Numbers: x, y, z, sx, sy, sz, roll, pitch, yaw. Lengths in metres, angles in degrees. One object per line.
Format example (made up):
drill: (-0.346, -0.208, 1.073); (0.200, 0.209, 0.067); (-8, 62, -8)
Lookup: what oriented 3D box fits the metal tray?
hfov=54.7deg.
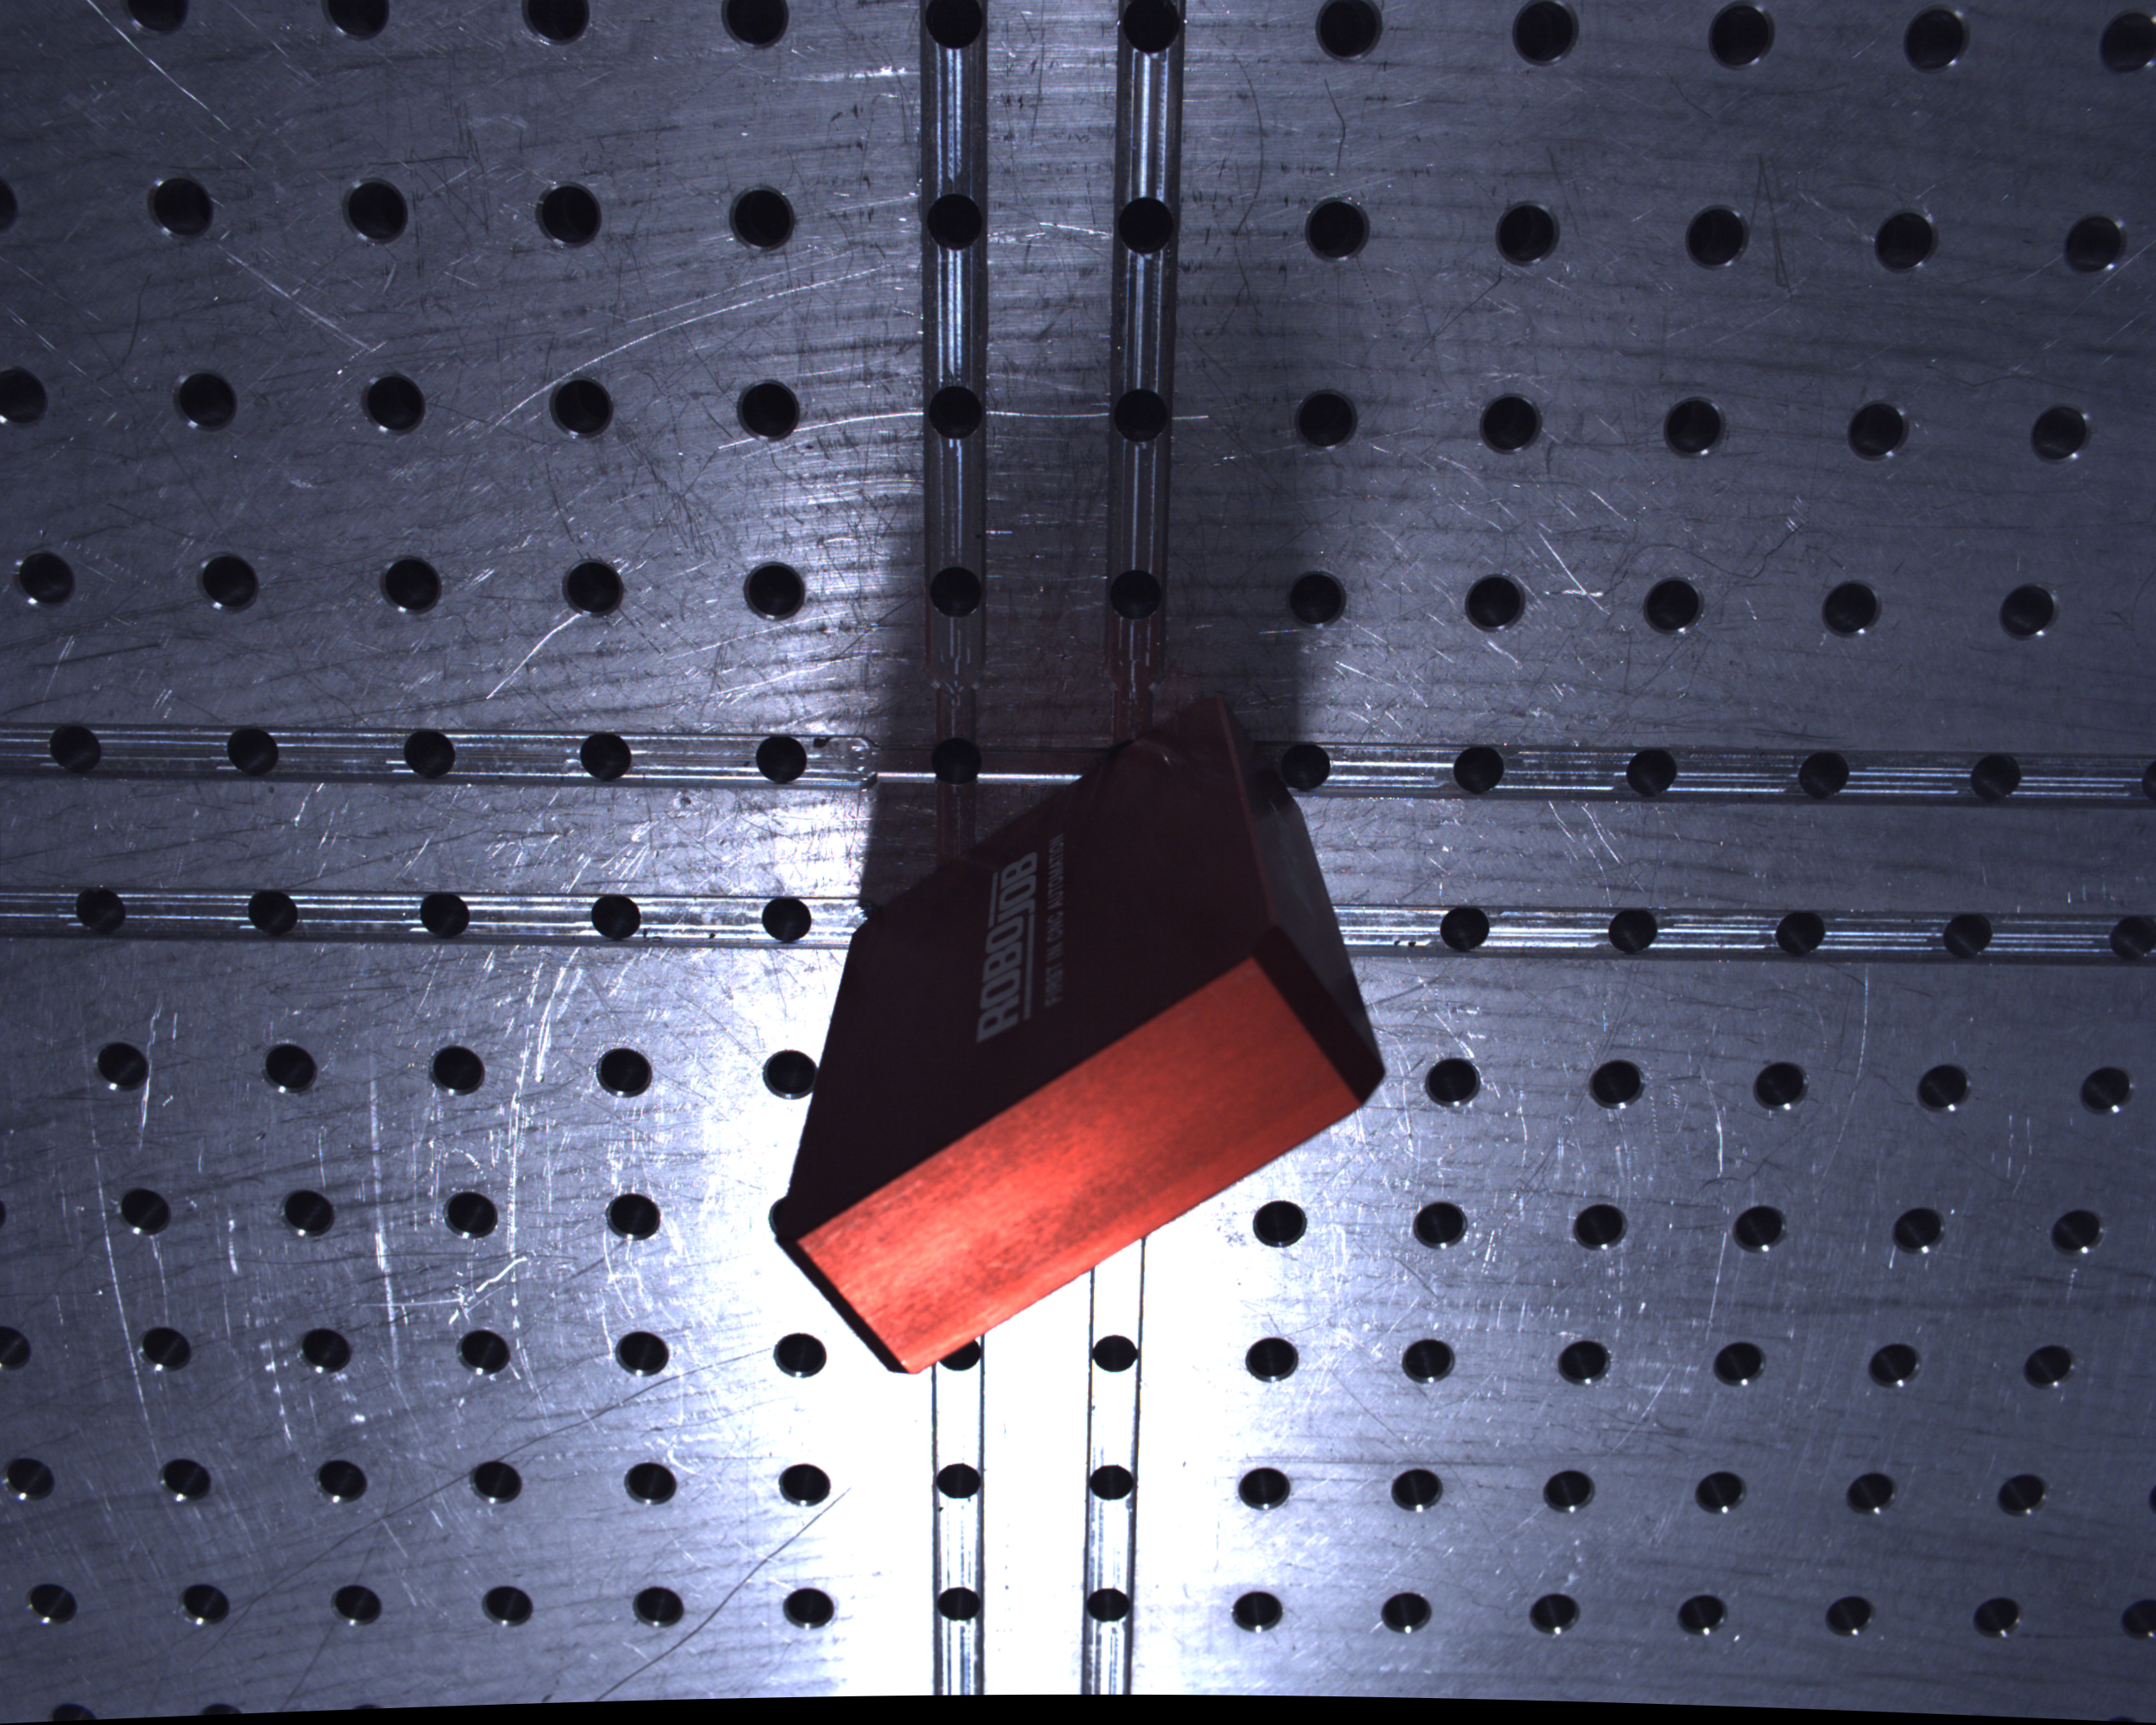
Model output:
metal tray: (-0.001, 0.023, 0.366); (0.090, 0.130, 0.030); (-33, 107, 11)
